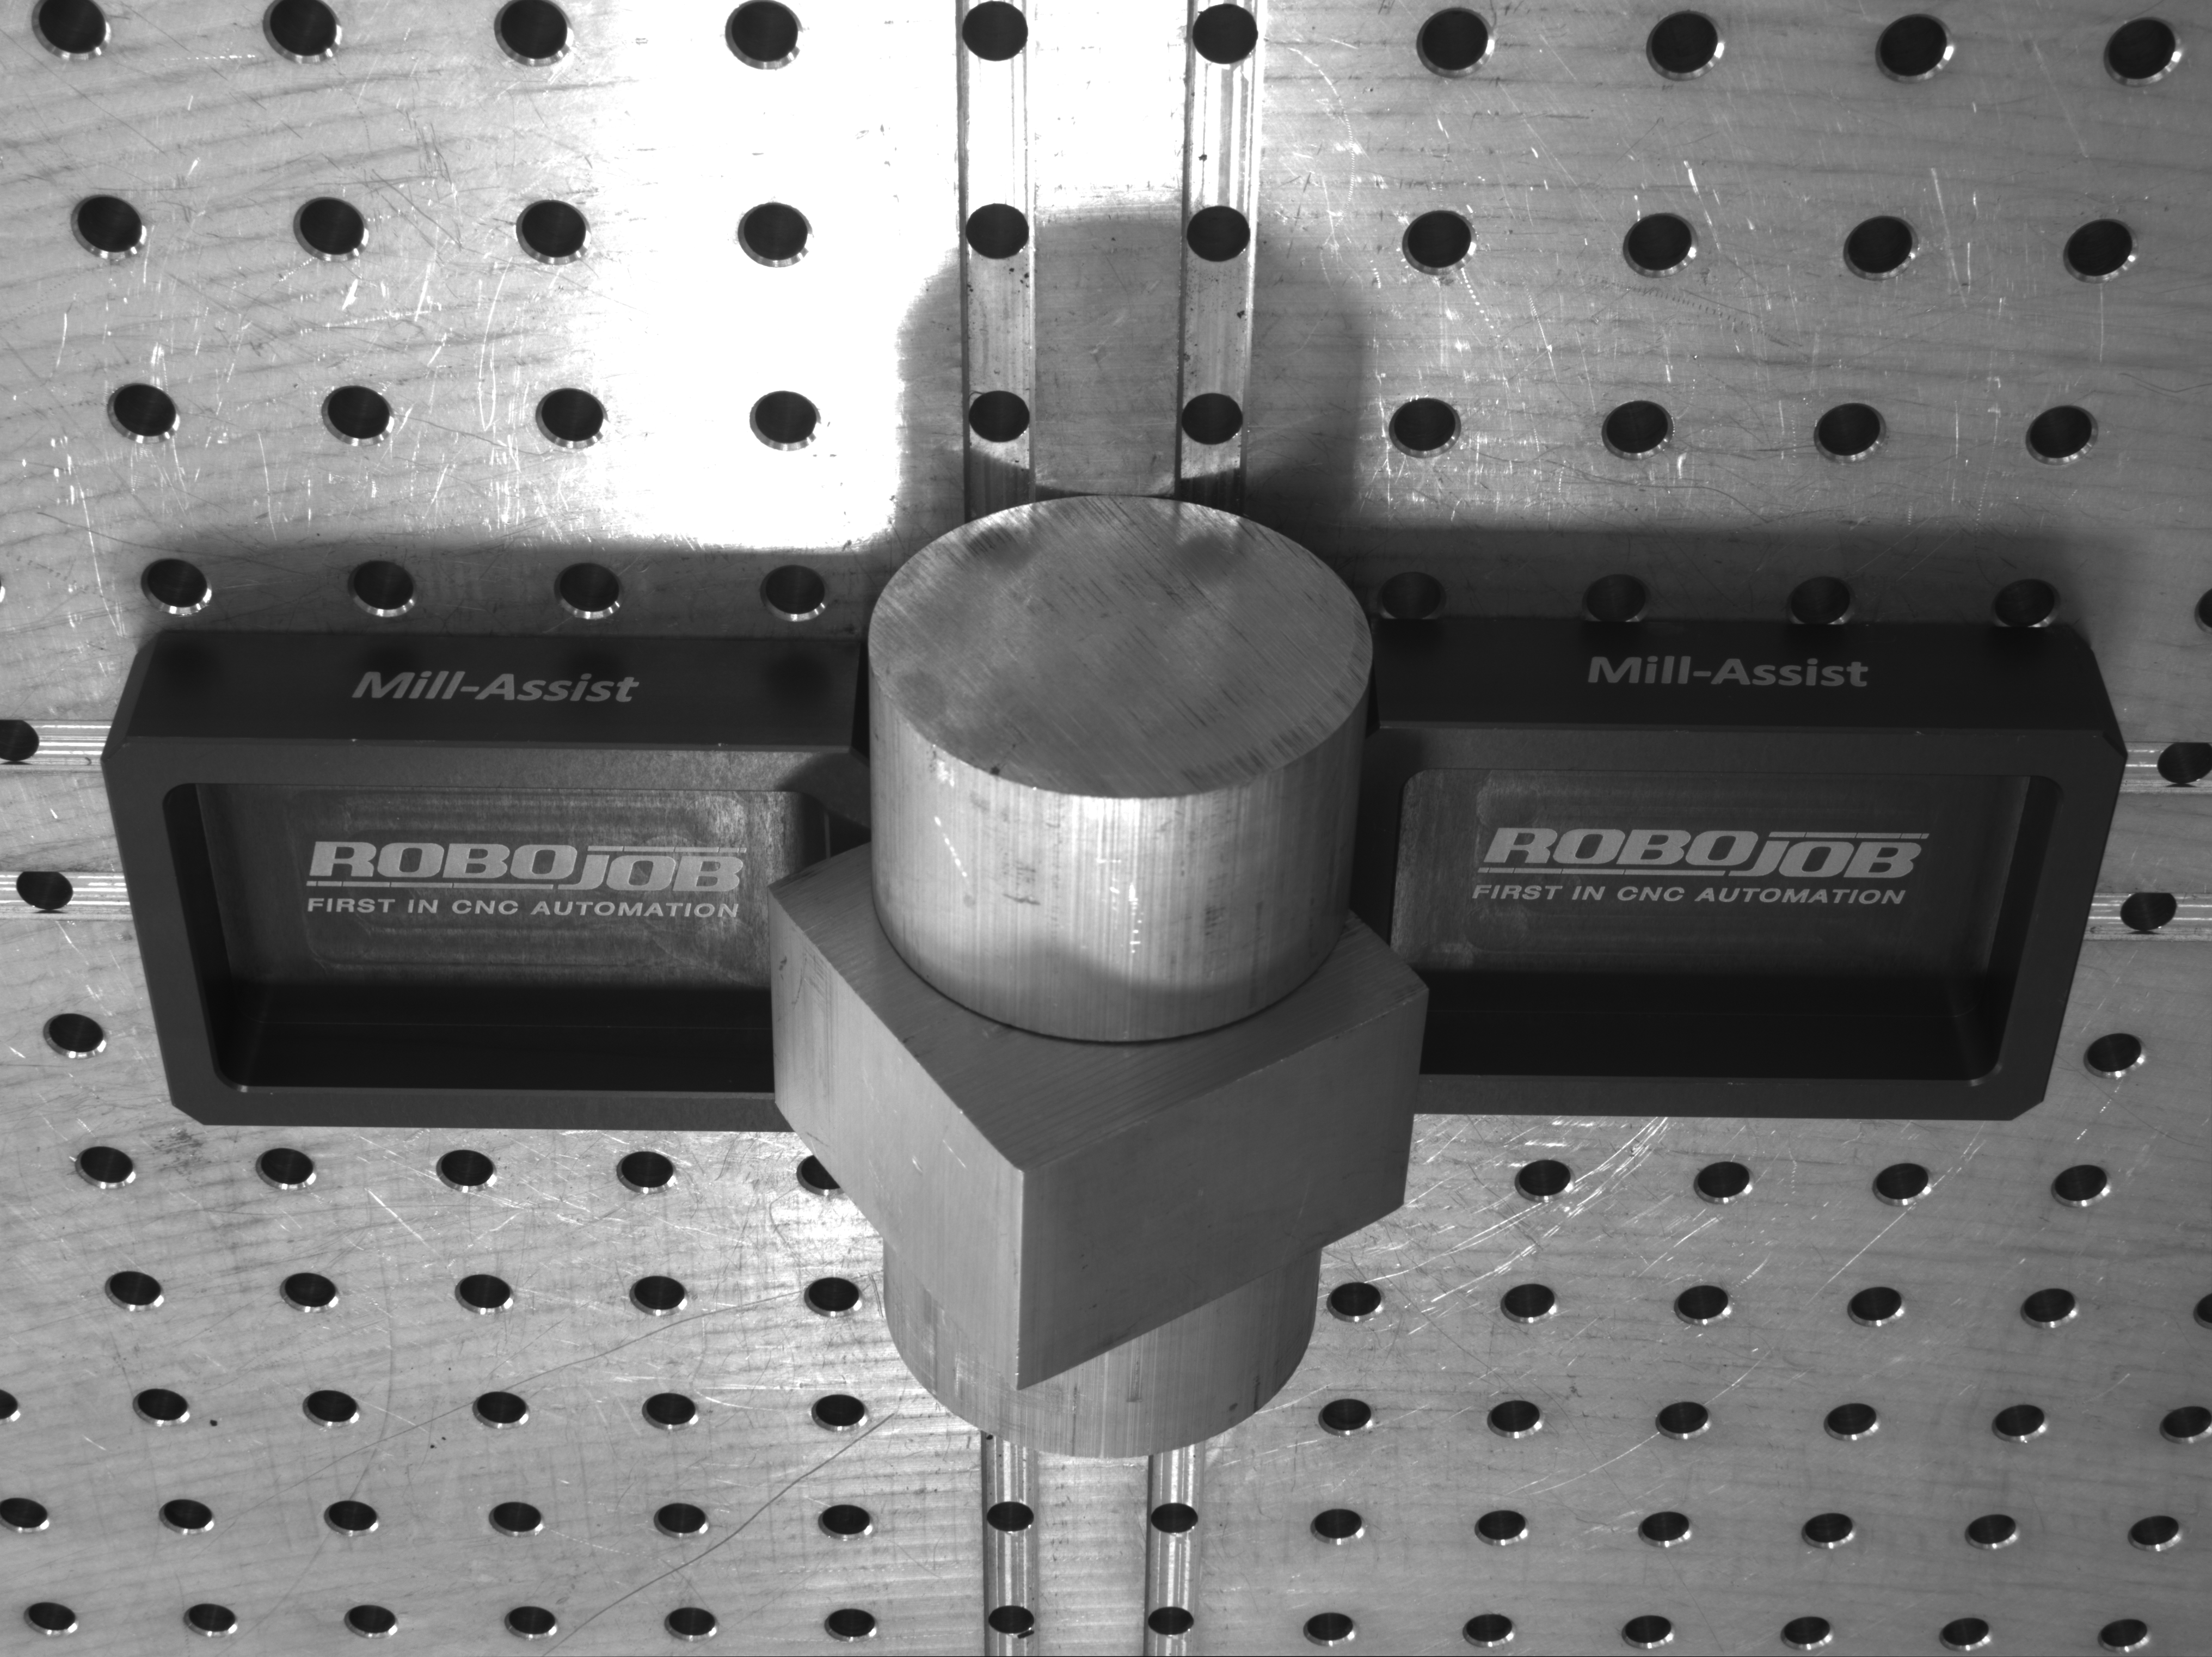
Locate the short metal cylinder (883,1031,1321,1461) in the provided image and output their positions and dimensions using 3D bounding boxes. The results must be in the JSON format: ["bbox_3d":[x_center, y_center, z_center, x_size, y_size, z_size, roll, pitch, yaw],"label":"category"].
[{"bbox_3d":[0.000,0.067,0.662,0.080,0.080,0.050,1,130,-1],"label":"short metal cylinder"}]

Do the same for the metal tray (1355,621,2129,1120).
[{"bbox_3d":[0.105,0.009,0.646,0.130,0.030,0.090,1,130,-1],"label":"metal tray"}]

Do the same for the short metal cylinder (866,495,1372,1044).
[{"bbox_3d":[0.002,-0.011,0.597,0.080,0.080,0.050,1,130,-1],"label":"short metal cylinder"}]

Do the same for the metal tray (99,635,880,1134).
[{"bbox_3d":[-0.103,0.011,0.648,0.130,0.030,0.090,1,130,-1],"label":"metal tray"}]

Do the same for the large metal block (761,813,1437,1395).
[{"bbox_3d":[-0.003,0.037,0.619,0.080,0.080,0.050,-22,135,-27],"label":"large metal block"}]
